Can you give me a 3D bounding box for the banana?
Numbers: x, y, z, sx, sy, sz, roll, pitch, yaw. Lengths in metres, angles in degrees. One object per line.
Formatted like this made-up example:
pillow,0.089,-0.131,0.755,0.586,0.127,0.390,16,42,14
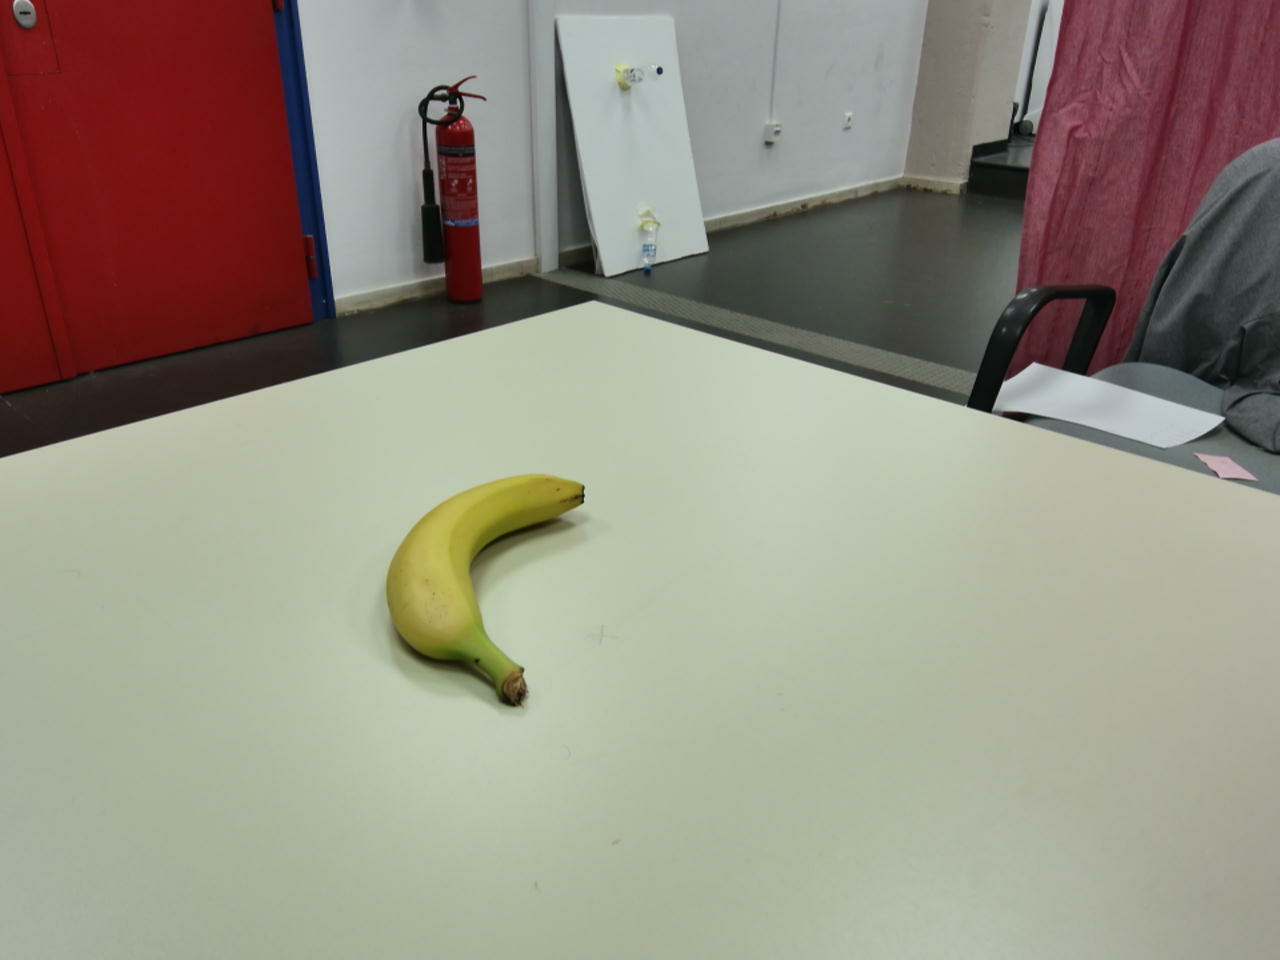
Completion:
banana,-0.090,0.046,0.557,0.094,0.041,0.196,4,25,5
